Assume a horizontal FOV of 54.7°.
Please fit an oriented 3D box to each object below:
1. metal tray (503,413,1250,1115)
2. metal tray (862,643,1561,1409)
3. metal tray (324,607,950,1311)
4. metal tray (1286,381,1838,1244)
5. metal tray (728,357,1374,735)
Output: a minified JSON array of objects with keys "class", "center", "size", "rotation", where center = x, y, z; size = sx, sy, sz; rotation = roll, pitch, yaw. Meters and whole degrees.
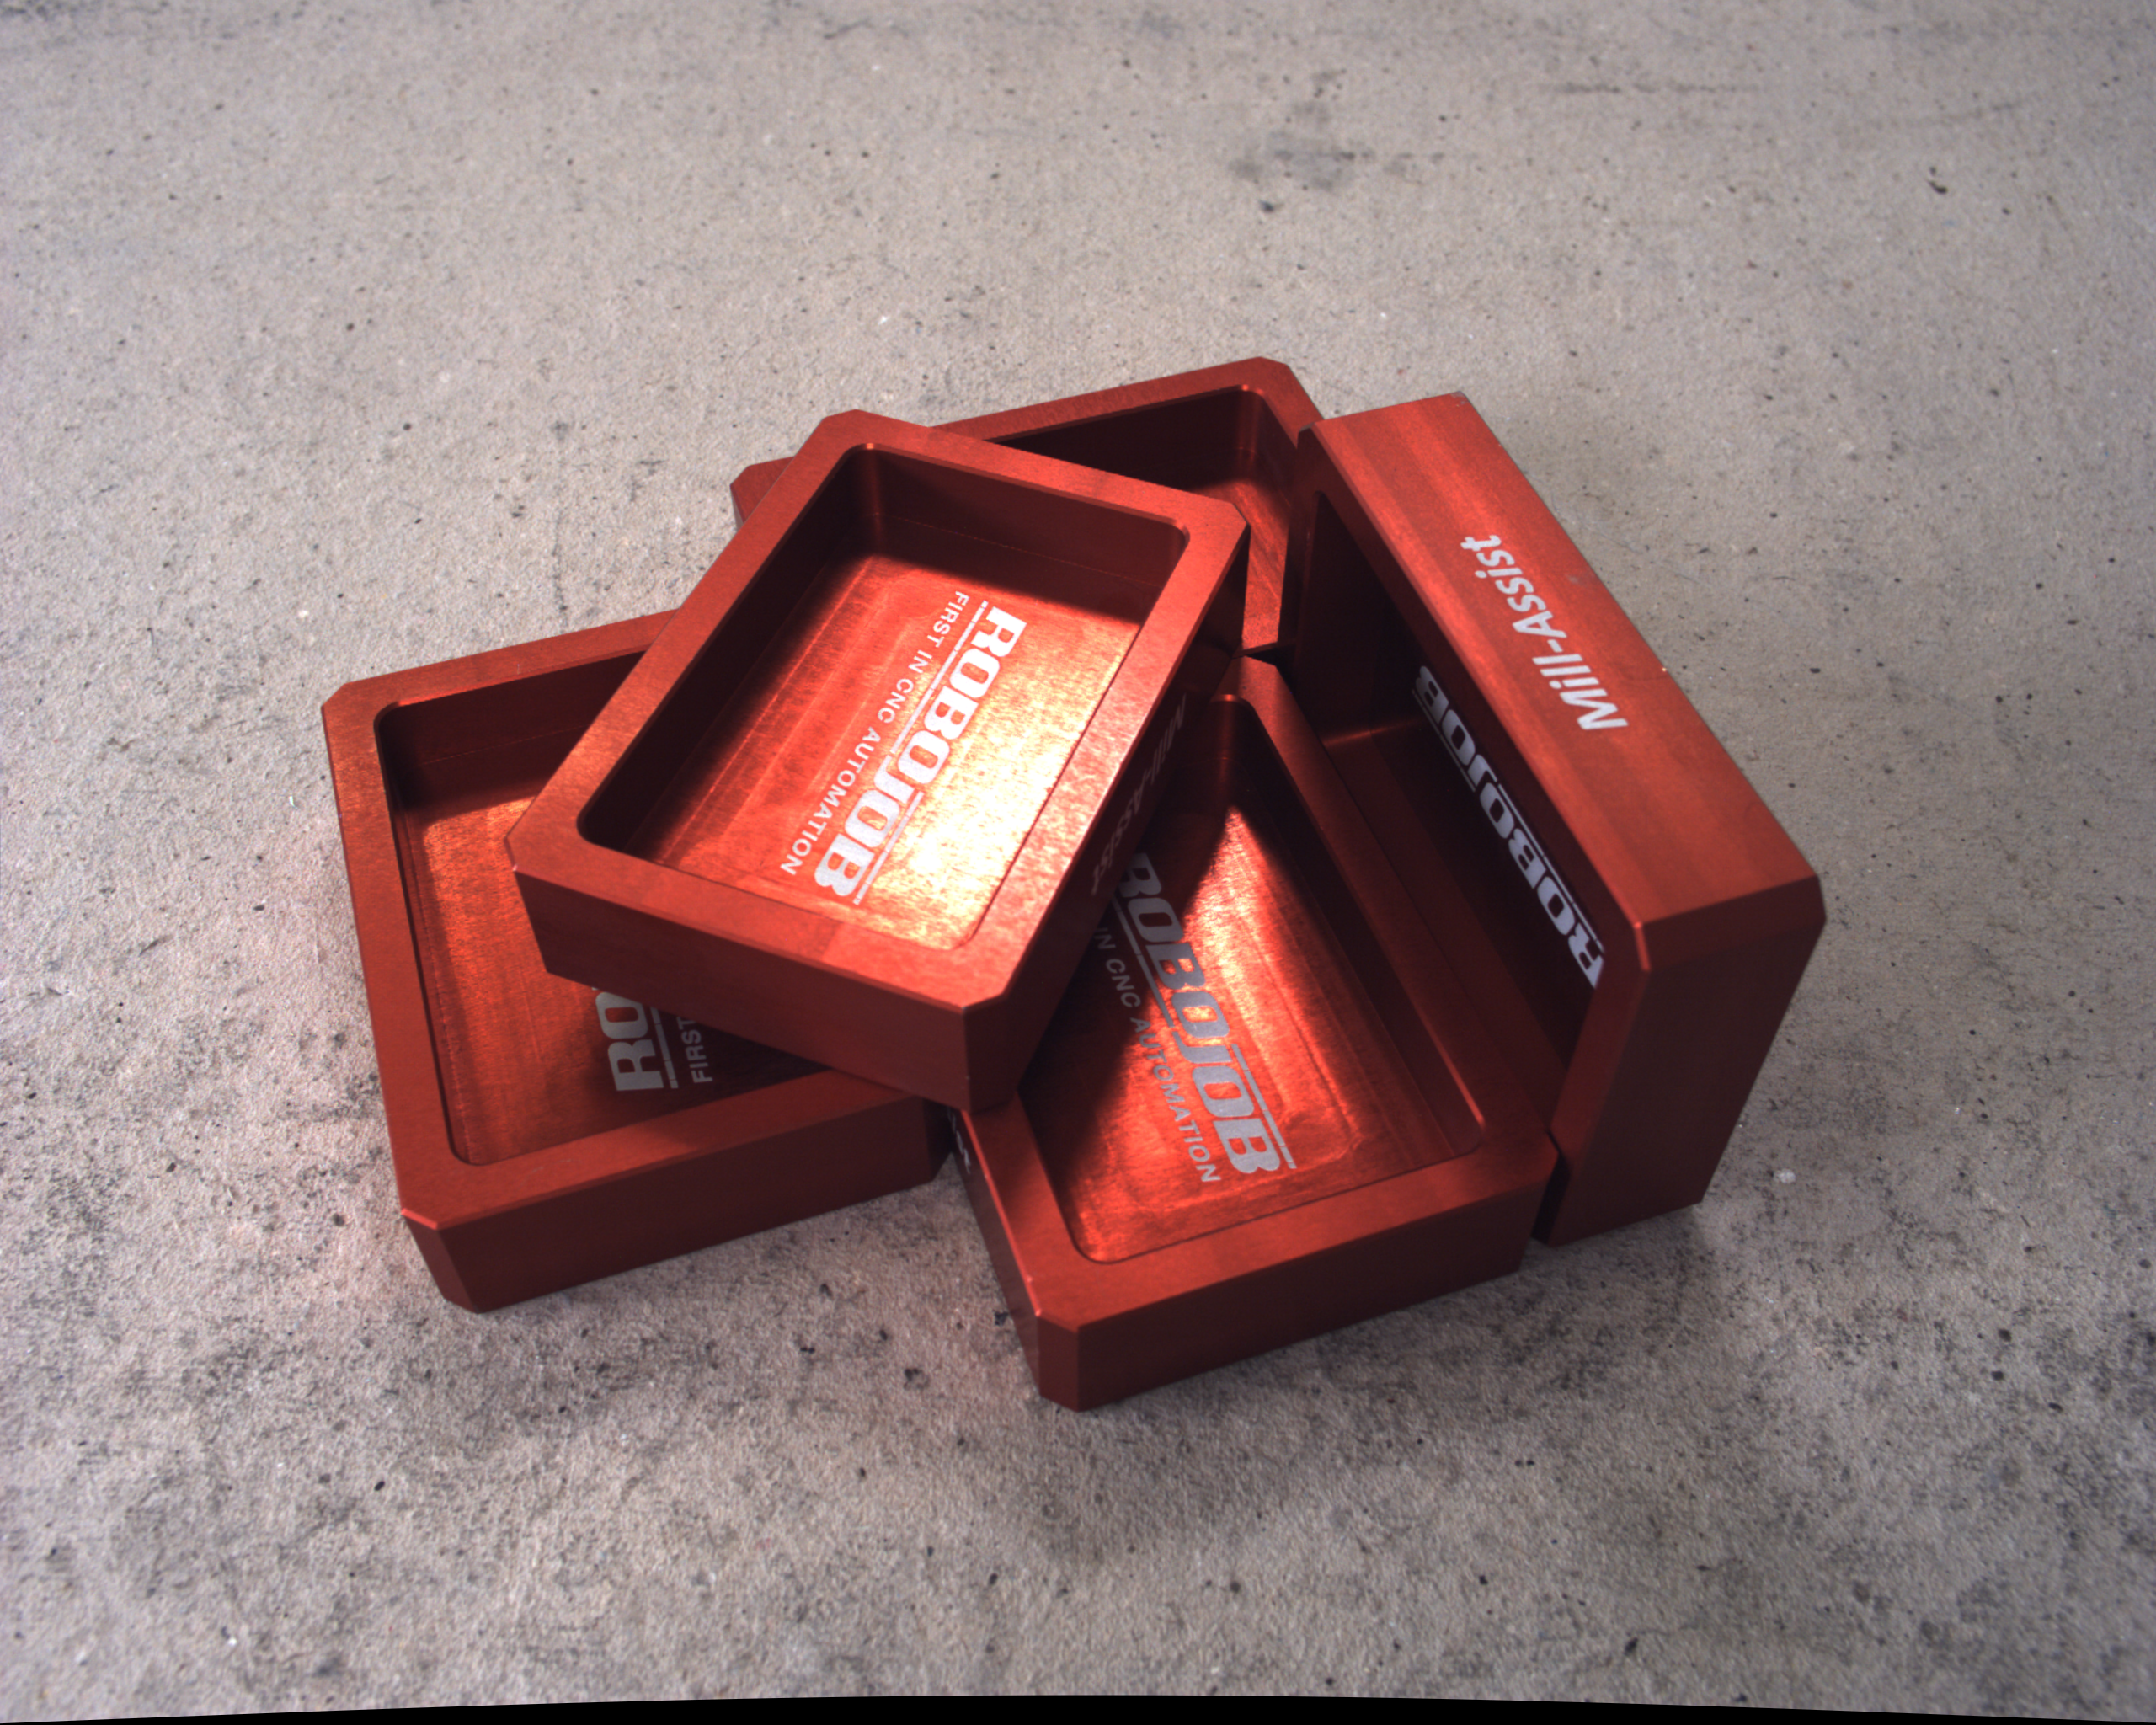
[{"class":"metal tray","center":[-0.031,-0.024,0.384],"size":[0.090,0.030,0.130],"rotation":[17,52,14]},{"class":"metal tray","center":[0.017,0.023,0.379],"size":[0.091,0.030,0.130],"rotation":[-16,53,-12]},{"class":"metal tray","center":[-0.085,0.010,0.391],"size":[0.091,0.030,0.130],"rotation":[-15,51,-12]},{"class":"metal tray","center":[0.076,-0.011,0.369],"size":[0.030,0.090,0.130],"rotation":[-14,52,-12]},{"class":"metal tray","center":[-0.001,-0.060,0.453],"size":[0.131,0.030,0.090],"rotation":[-15,52,-11]}]
